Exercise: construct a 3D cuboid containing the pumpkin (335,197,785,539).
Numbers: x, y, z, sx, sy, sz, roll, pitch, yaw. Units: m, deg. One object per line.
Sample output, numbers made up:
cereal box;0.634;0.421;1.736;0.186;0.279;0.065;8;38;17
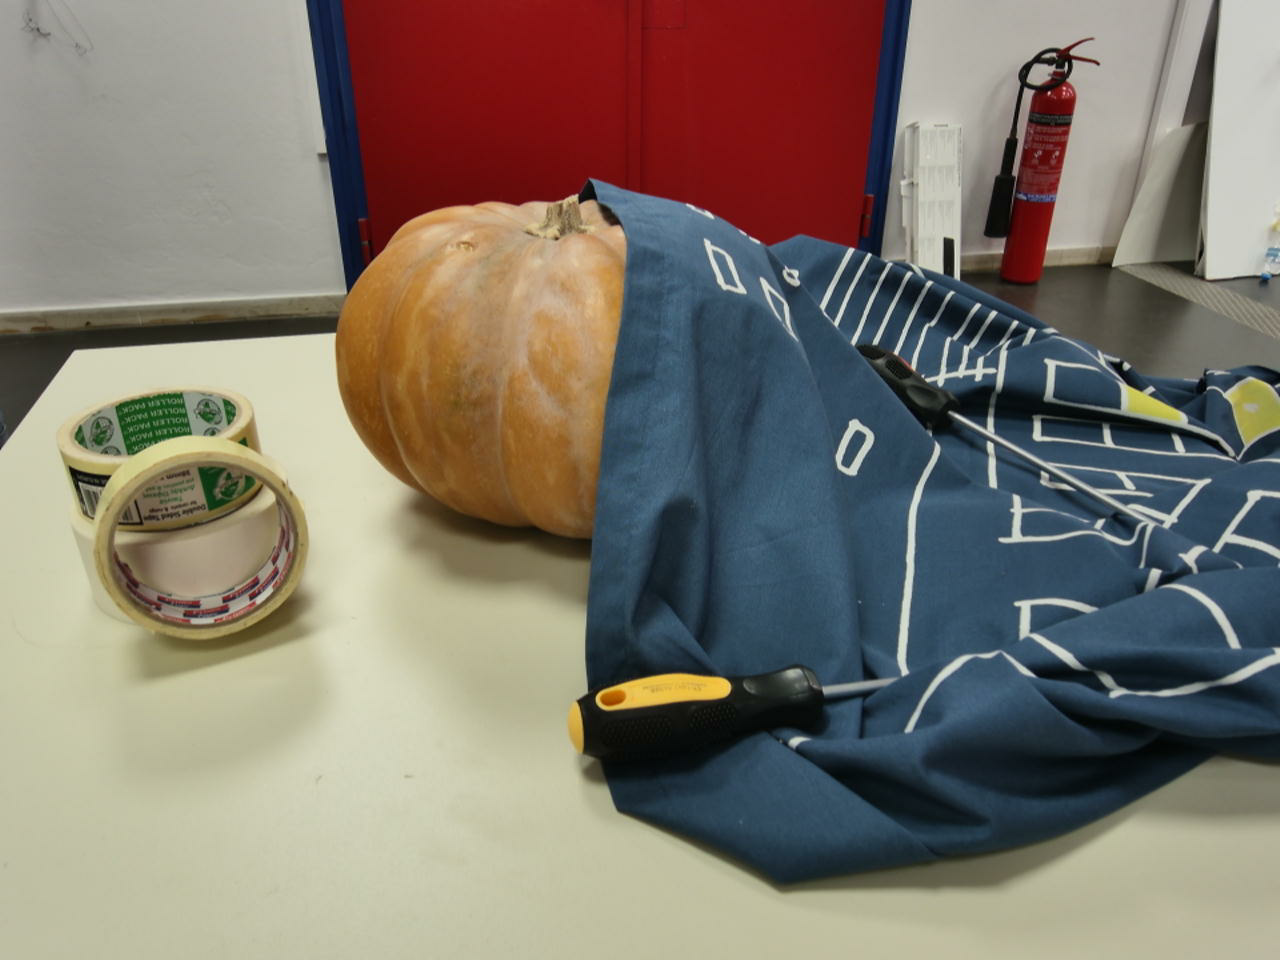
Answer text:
pumpkin;-0.043;-0.075;0.593;0.277;0.181;0.277;0;27;0
